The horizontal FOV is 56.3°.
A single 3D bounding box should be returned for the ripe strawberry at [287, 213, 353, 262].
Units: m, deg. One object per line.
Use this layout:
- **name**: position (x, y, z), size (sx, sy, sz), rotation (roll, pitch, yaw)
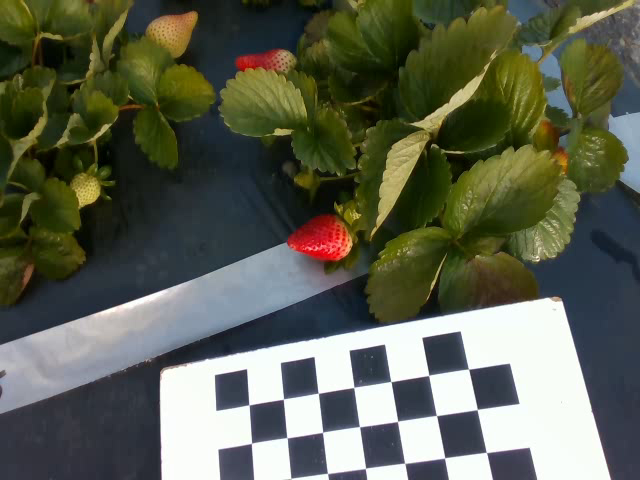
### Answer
- **ripe strawberry**: position (-0.002, 0.000, 0.398), size (0.055, 0.050, 0.036), rotation (-12, -18, -8)
